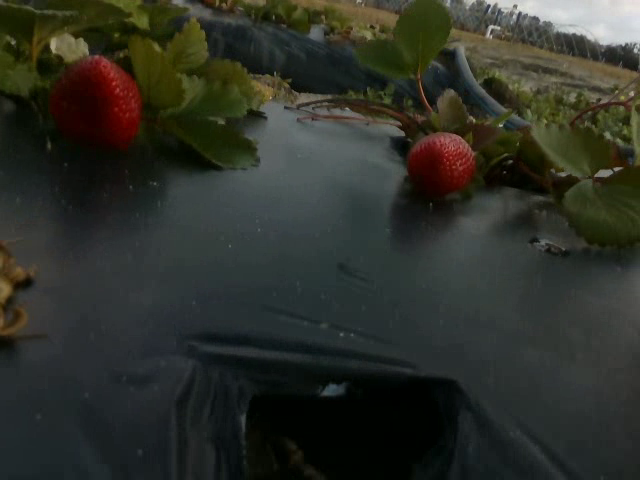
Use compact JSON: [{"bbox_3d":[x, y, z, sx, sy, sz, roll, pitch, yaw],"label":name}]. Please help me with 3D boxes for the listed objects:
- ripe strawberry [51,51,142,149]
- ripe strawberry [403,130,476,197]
[{"bbox_3d":[-0.091,-0.060,0.233,0.051,0.046,0.050,36,-23,3],"label":"ripe strawberry"},{"bbox_3d":[0.057,-0.040,0.282,0.042,0.044,0.052,-38,-17,8],"label":"ripe strawberry"}]
